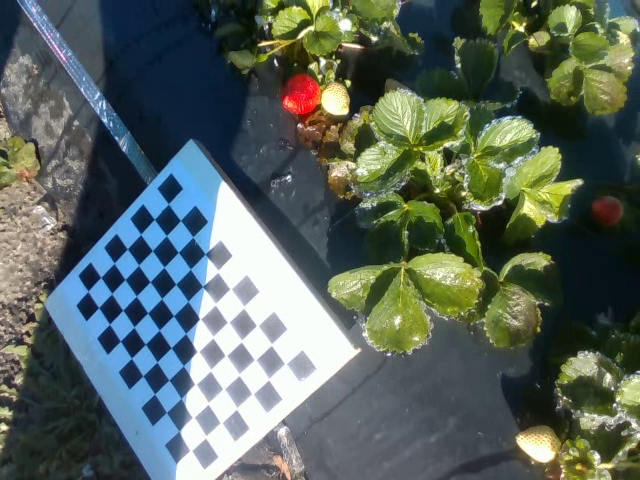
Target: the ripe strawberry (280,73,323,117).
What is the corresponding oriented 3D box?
[{"bbox_3d":[-0.023,-0.130,0.601,0.040,0.042,0.053,13,29,20],"label":"ripe strawberry"}]
